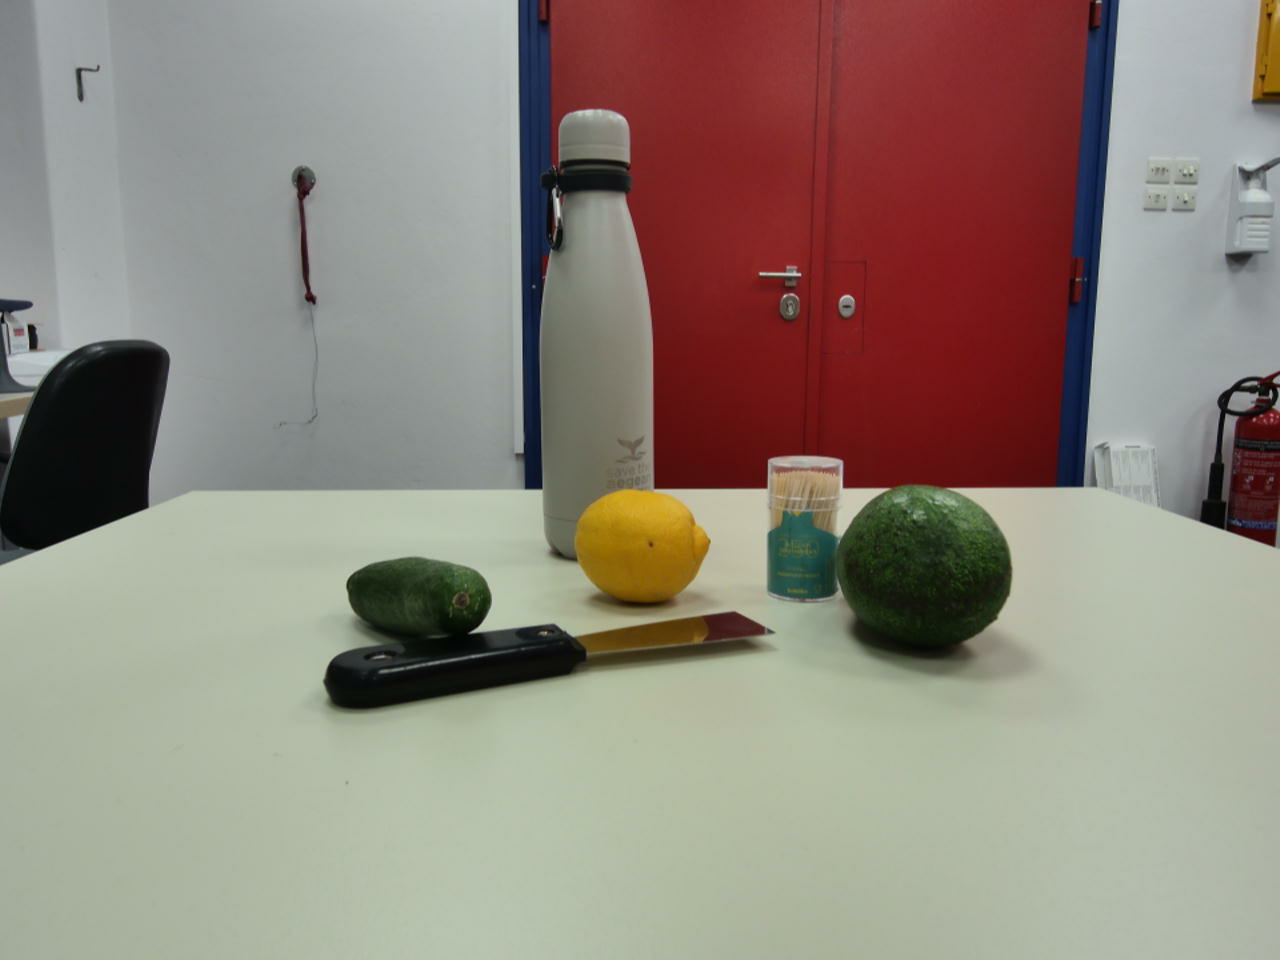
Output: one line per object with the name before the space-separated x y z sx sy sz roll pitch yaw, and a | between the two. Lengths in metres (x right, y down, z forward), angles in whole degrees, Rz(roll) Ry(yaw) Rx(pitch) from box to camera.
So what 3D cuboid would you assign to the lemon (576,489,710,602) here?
lemon | 0.000 0.035 0.531 0.067 0.059 0.060 7 9 41
